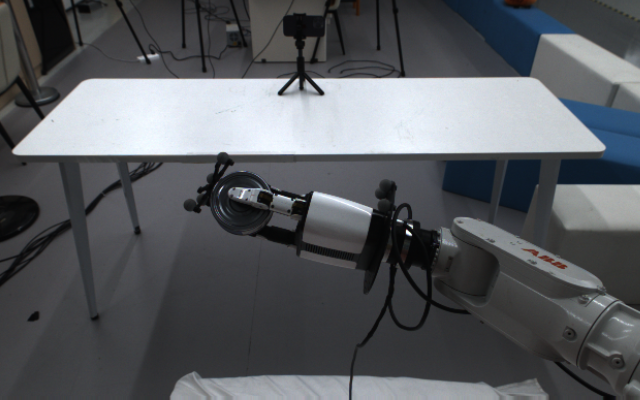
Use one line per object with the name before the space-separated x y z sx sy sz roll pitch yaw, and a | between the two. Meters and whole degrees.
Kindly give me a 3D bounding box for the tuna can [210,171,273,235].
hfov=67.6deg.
tuna can | -0.103 0.008 0.661 0.085 0.034 0.085 1 77 -5
